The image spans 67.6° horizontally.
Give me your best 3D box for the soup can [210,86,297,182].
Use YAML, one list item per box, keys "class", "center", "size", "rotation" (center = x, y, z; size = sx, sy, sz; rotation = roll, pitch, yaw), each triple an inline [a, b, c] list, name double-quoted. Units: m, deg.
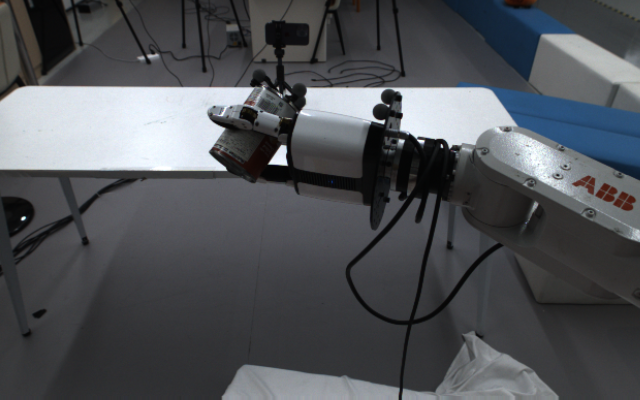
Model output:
- class: "soup can"
  center: [-0.079, -0.080, 0.595]
  size: [0.067, 0.067, 0.101]
  rotation: [27, 78, 31]
